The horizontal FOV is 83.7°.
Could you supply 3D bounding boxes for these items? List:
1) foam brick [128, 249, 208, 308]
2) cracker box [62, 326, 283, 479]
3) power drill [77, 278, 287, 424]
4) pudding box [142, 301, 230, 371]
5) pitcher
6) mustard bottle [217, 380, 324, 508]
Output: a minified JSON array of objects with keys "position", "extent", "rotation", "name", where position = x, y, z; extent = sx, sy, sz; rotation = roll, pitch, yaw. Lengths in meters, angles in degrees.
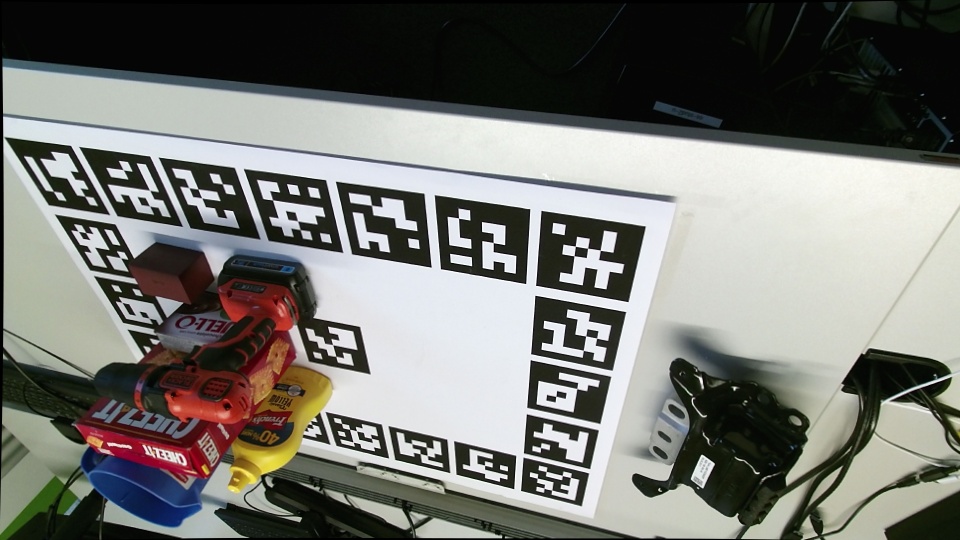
[{"position":[-0.421,0.010,0.723],"extent":[0.078,0.051,0.053],"rotation":[10,126,10],"name":"foam brick"},{"position":[-0.394,0.158,0.715],"extent":[0.165,0.213,0.072],"rotation":[5,129,11],"name":"cracker box"},{"position":[-0.330,0.089,0.623],"extent":[0.185,0.186,0.057],"rotation":[8,131,13],"name":"power drill"},{"position":[-0.374,0.089,0.725],"extent":[0.114,0.089,0.038],"rotation":[8,129,8],"name":"pudding box"},{"position":[-0.441,0.235,0.782],"extent":[0.189,0.242,0.133],"rotation":[12,128,6],"name":"pitcher"},{"position":[-0.309,0.248,0.764],"extent":[0.096,0.191,0.058],"rotation":[19,128,3],"name":"mustard bottle"}]
